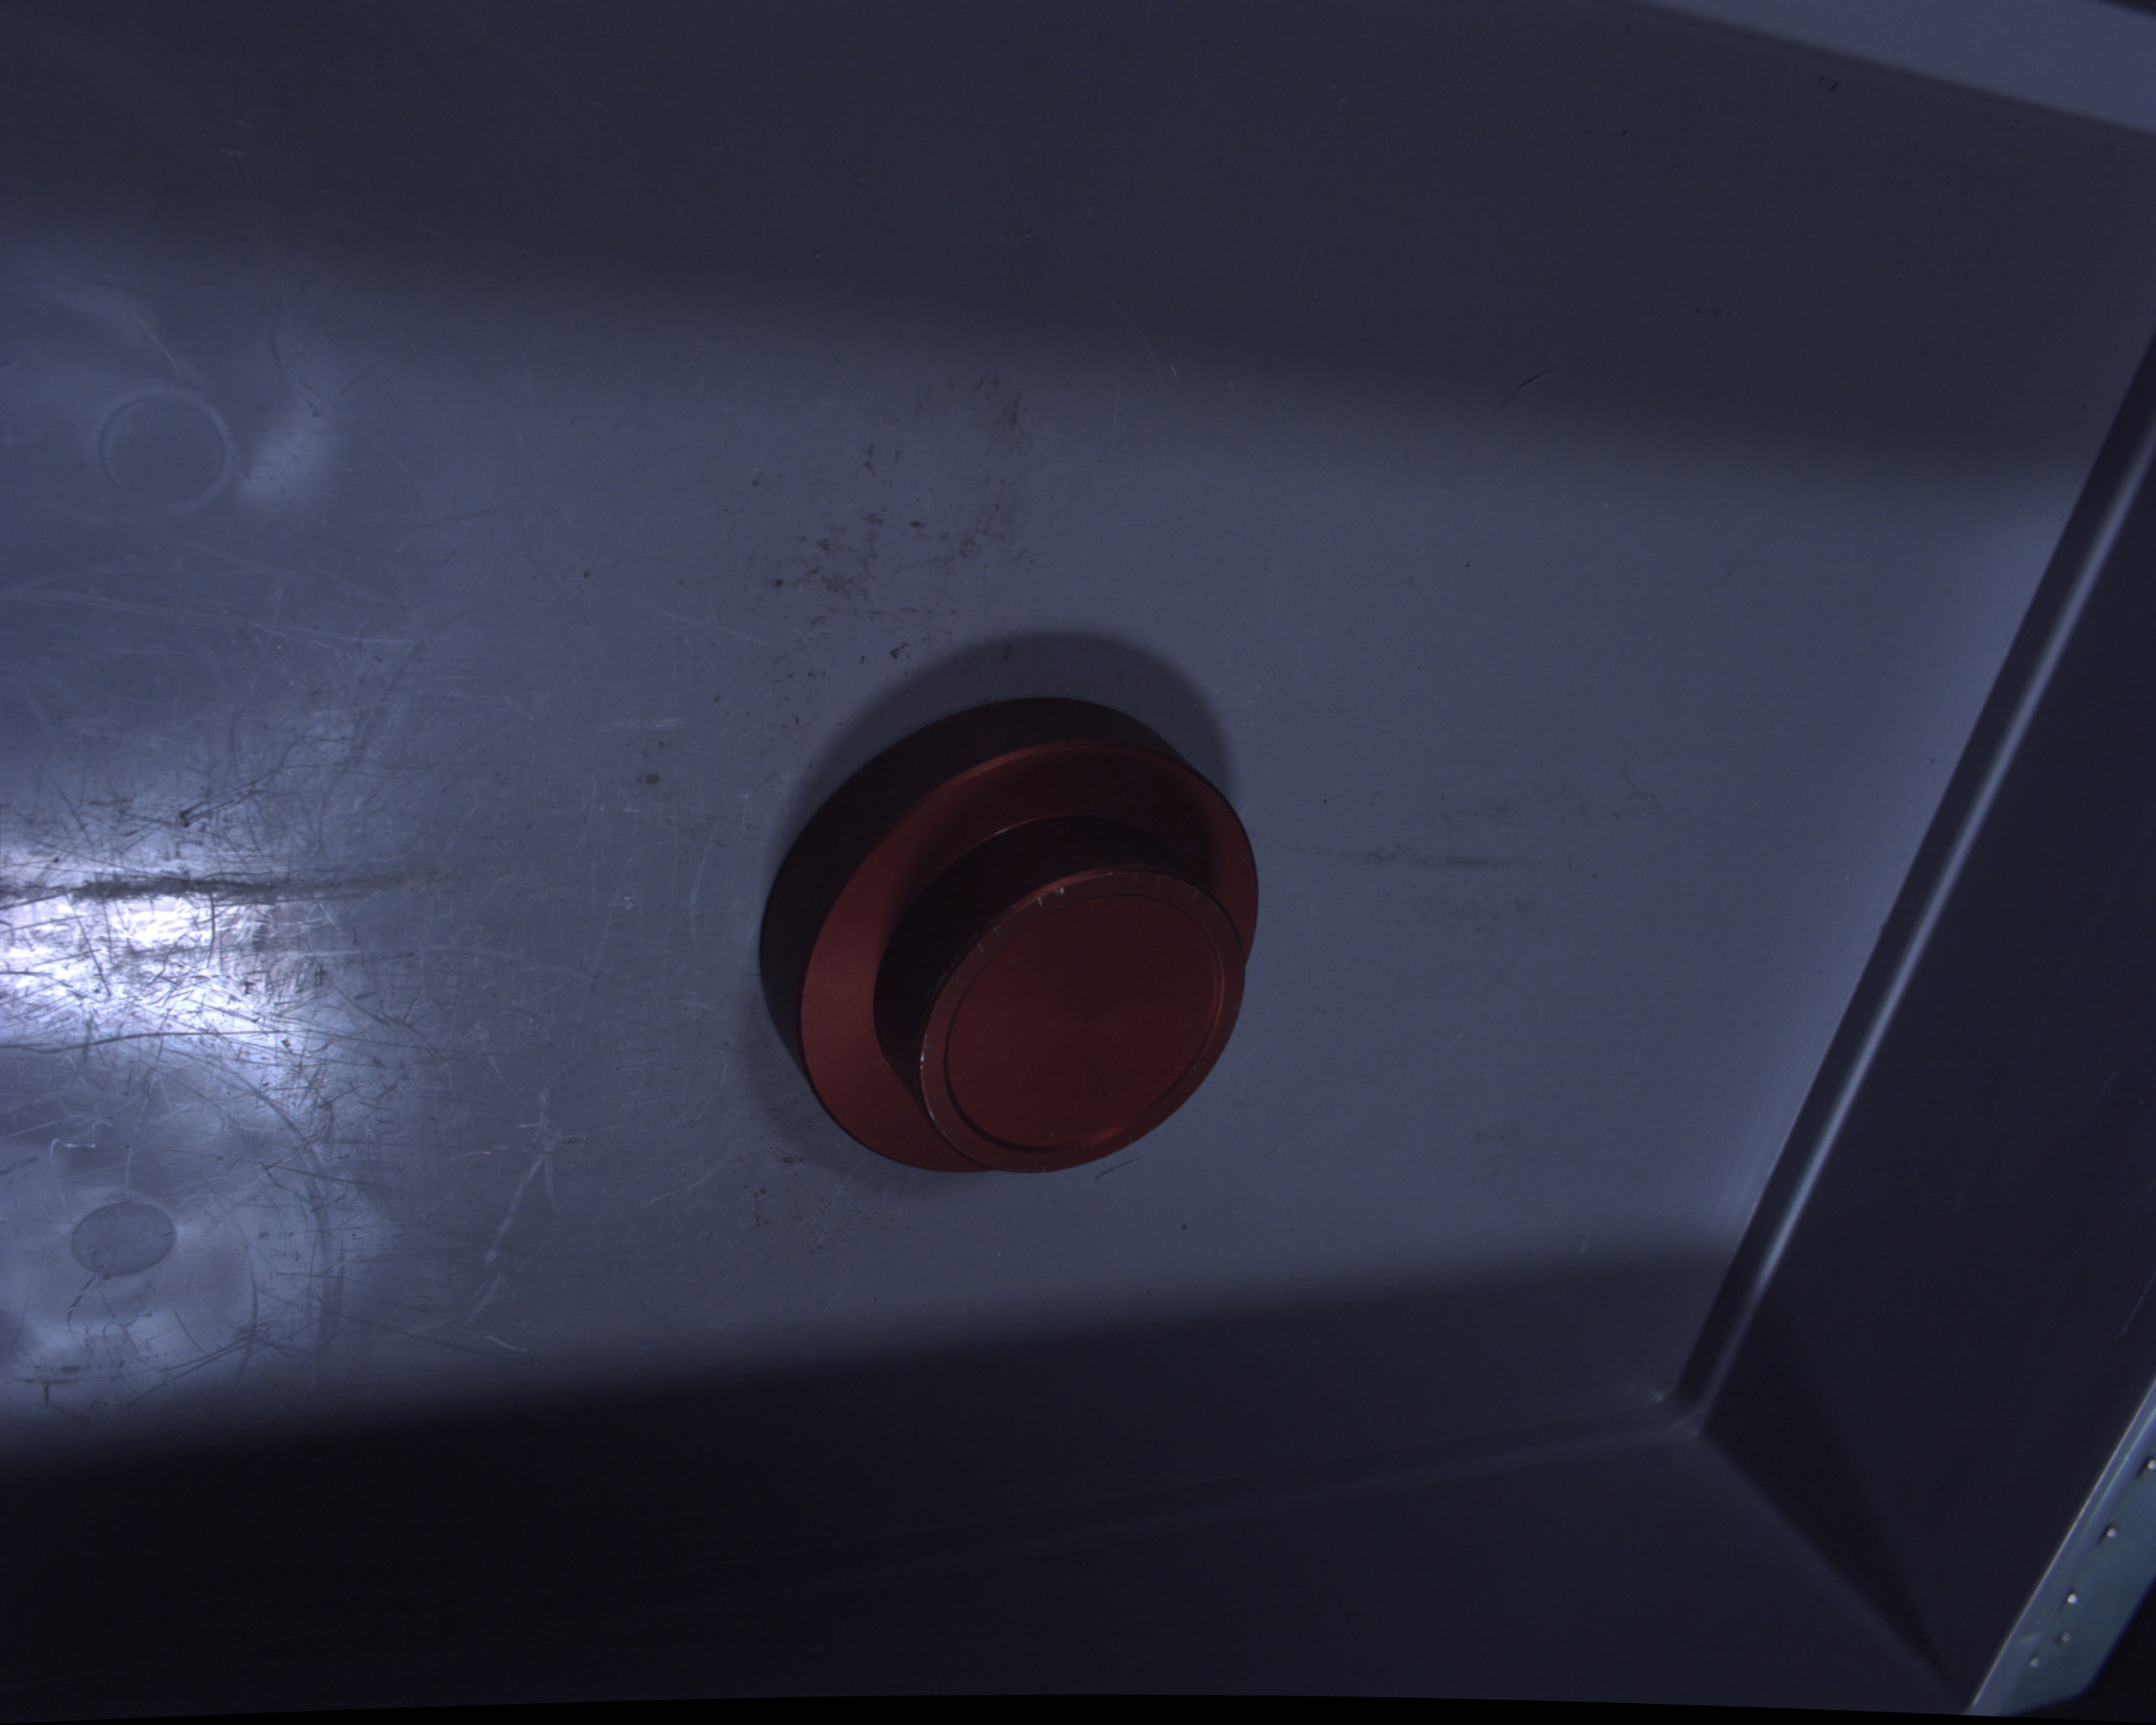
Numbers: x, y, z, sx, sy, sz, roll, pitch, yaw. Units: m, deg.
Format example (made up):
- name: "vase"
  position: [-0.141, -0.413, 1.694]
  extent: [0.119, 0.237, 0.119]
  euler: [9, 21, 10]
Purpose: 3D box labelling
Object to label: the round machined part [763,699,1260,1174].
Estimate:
- name: "round machined part"
  position: [-0.007, 0.021, 0.404]
  extent: [0.099, 0.042, 0.097]
  euler: [-14, 125, -21]
